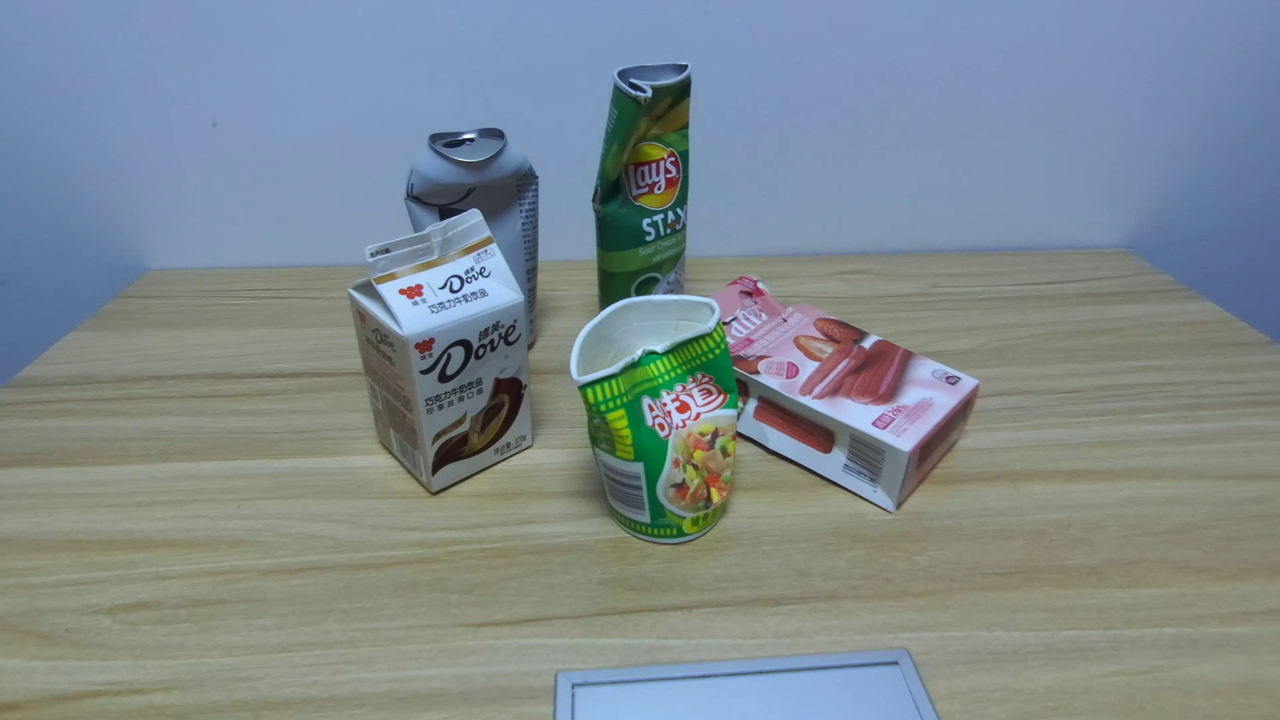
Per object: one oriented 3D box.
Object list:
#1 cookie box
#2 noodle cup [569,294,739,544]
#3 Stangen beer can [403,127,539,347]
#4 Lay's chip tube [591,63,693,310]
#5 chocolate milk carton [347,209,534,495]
[{"bbox_3d":[0.109,0.016,0.462,0.185,0.059,0.105,31,46,33],"label":"cookie box"},{"bbox_3d":[0.014,0.033,0.377,0.083,0.122,0.075,-14,26,-4],"label":"noodle cup"},{"bbox_3d":[-0.116,-0.080,0.512,0.065,0.162,0.077,20,38,27],"label":"Stangen beer can"},{"bbox_3d":[0.002,-0.106,0.515,0.069,0.201,0.077,1,34,0],"label":"Lay's chip tube"},{"bbox_3d":[-0.115,-0.010,0.412,0.076,0.148,0.073,-24,40,-36],"label":"chocolate milk carton"}]
